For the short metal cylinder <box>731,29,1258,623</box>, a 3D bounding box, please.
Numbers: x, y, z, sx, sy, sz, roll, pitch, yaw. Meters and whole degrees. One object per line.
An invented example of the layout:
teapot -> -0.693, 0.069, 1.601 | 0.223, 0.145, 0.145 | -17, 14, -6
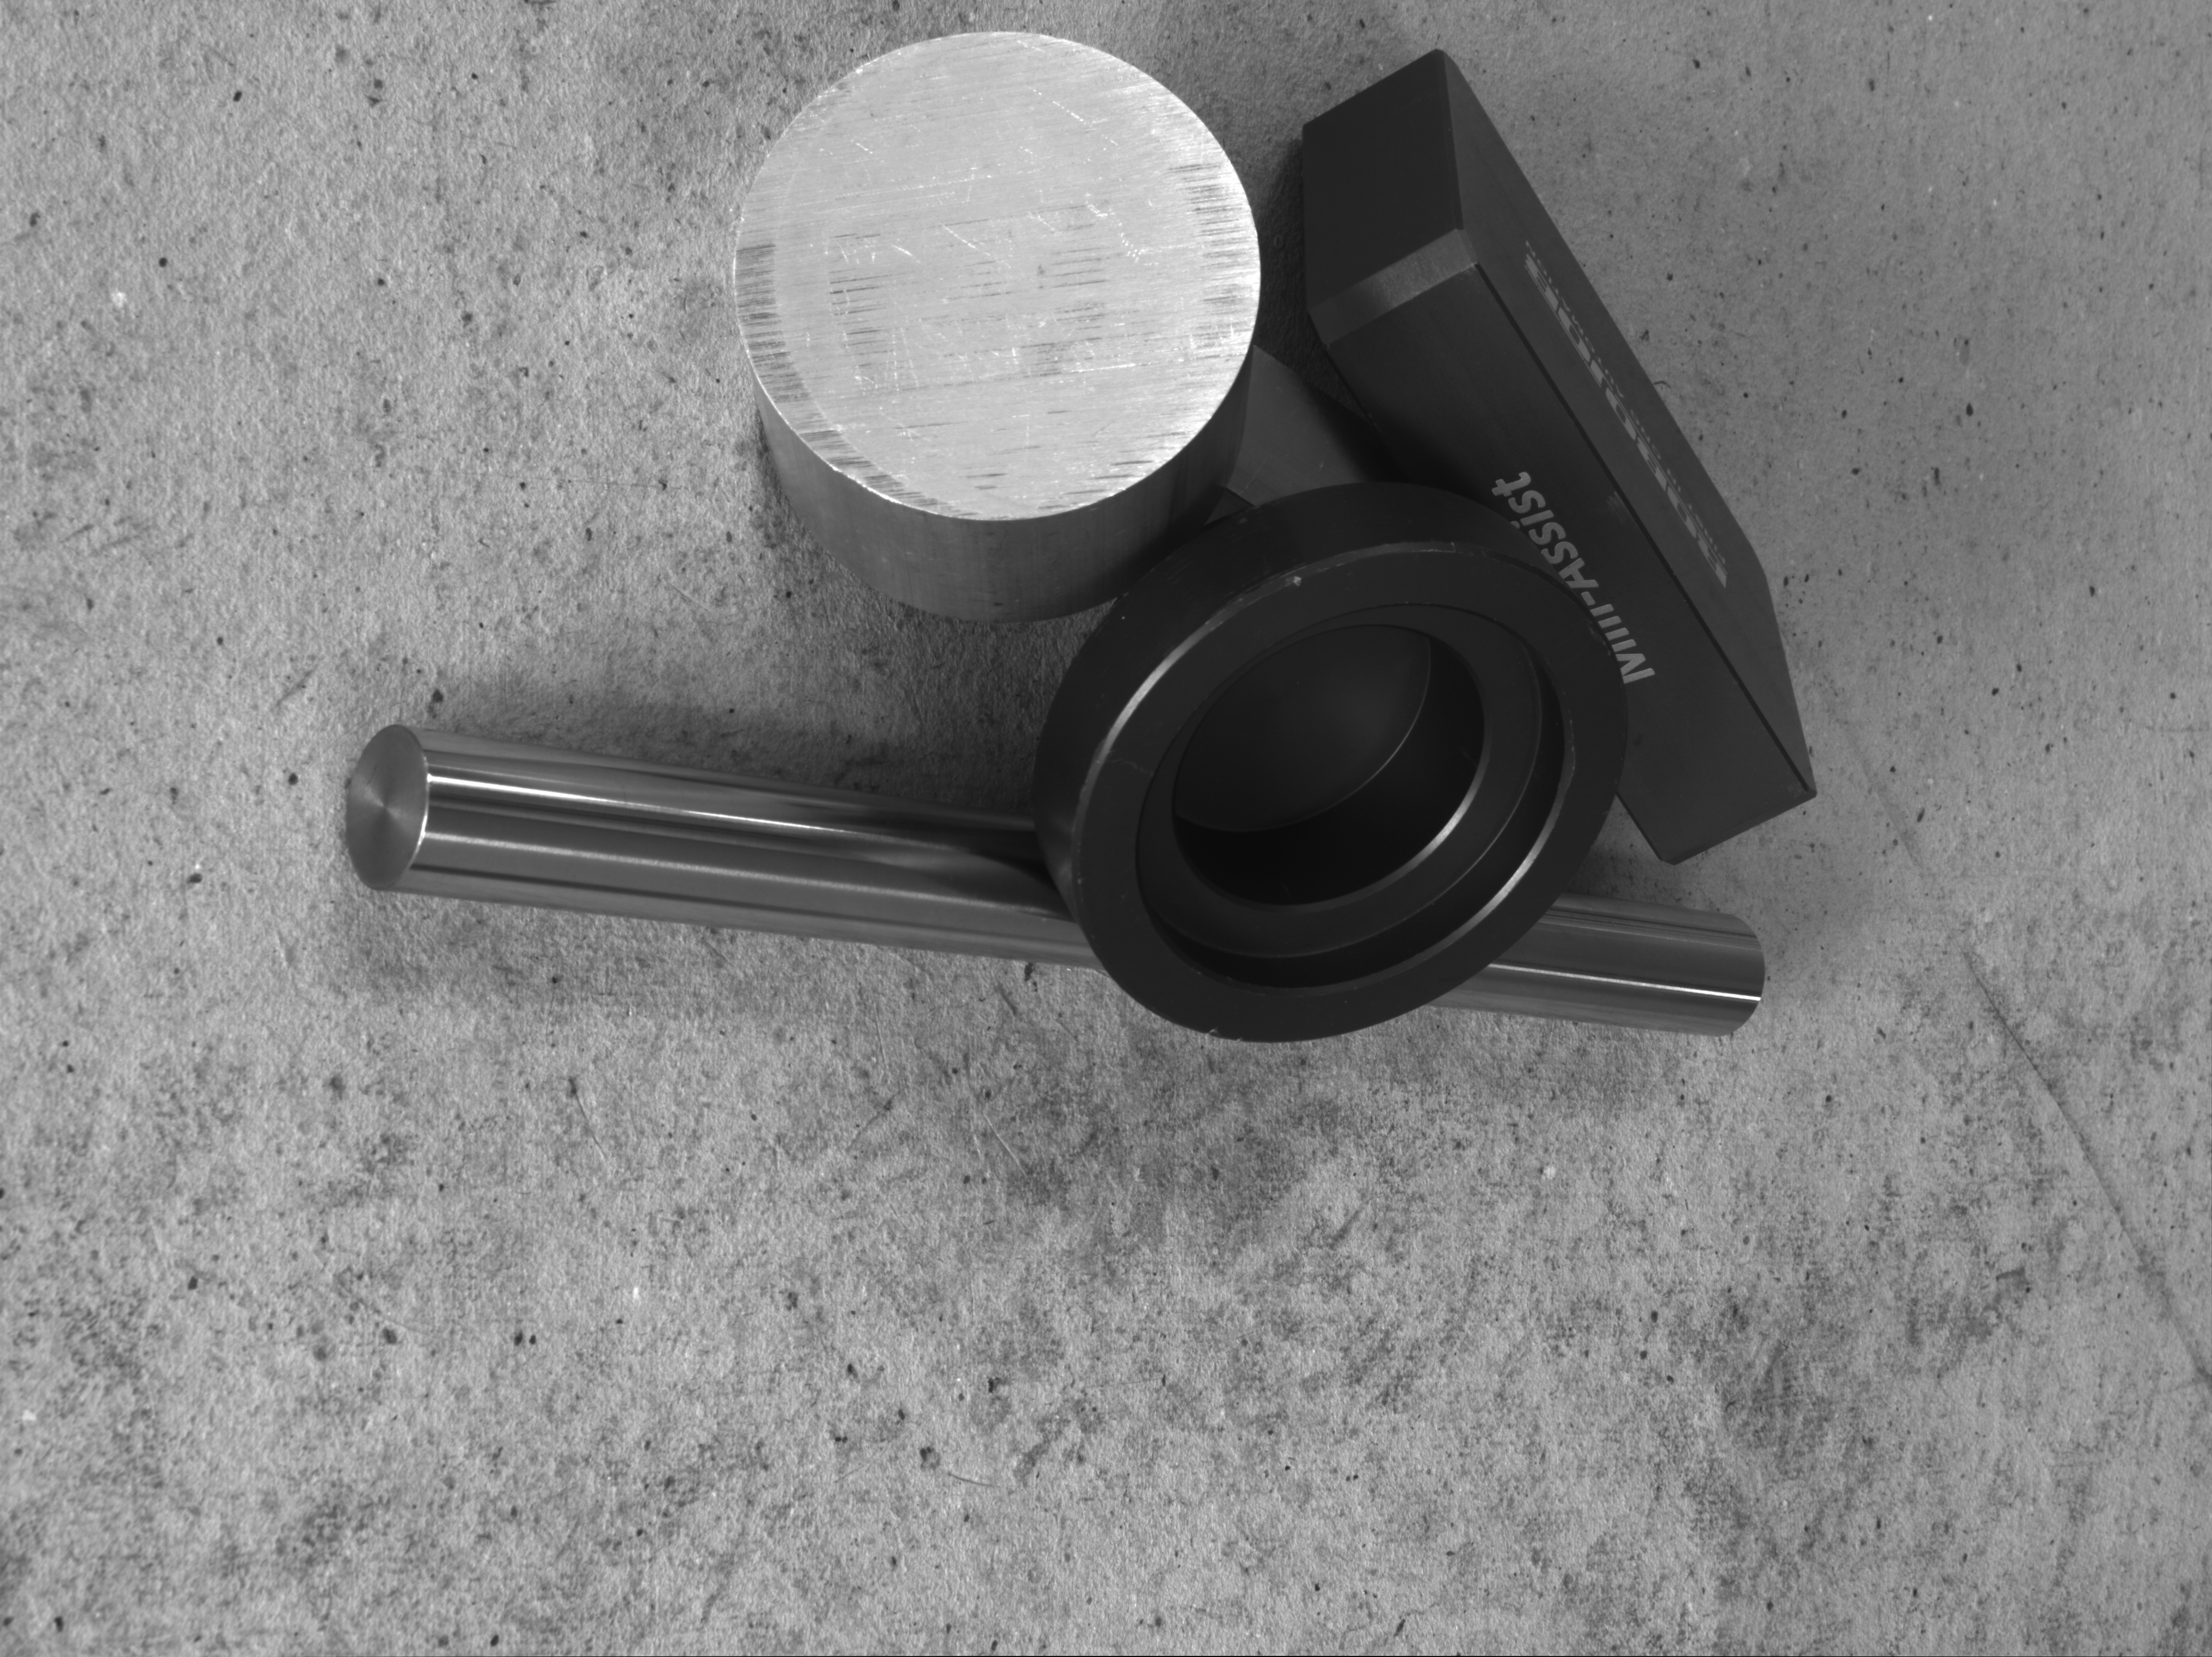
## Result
short metal cylinder -> -0.017, -0.078, 0.581 | 0.080, 0.050, 0.080 | 0, 75, 0

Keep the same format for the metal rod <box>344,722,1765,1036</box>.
metal rod -> 0.008, 0.013, 0.643 | 0.301, 0.025, 0.025 | 8, 85, -39

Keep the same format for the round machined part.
round machined part -> 0.033, -0.015, 0.613 | 0.098, 0.042, 0.098 | -13, 128, -16

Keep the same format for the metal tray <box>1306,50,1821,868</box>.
metal tray -> 0.083, -0.067, 0.669 | 0.130, 0.030, 0.090 | 53, 21, -27

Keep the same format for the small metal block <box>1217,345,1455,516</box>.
small metal block -> 0.023, -0.058, 0.637 | 0.050, 0.050, 0.025 | 30, 71, -36
